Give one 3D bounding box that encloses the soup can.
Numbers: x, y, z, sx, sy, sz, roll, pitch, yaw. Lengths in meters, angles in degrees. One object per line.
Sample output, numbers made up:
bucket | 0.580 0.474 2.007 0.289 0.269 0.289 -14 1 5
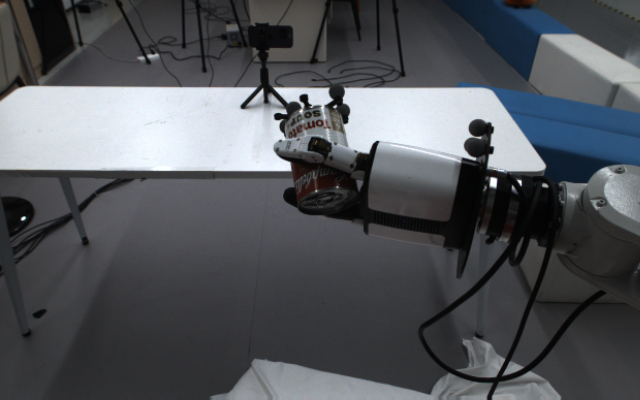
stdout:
soup can | 0.003 -0.043 0.528 0.067 0.067 0.101 -6 67 -12
